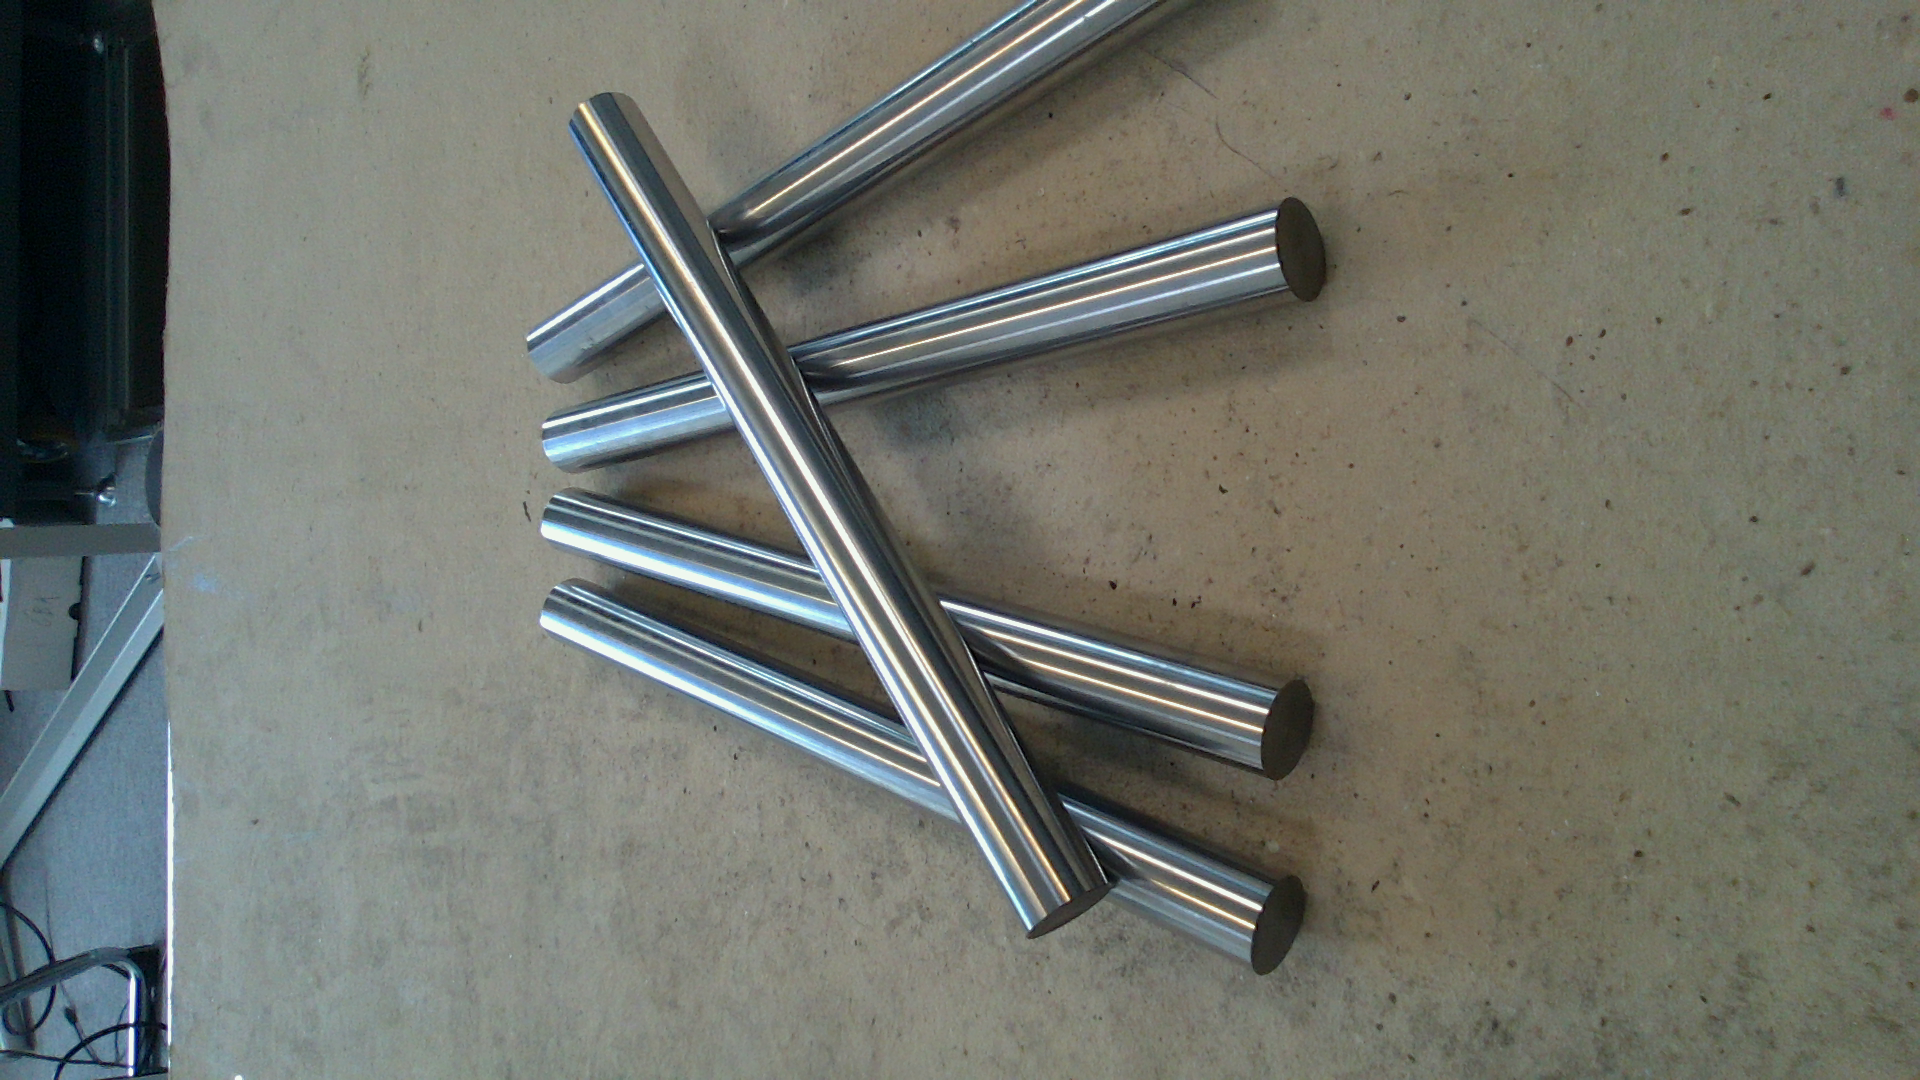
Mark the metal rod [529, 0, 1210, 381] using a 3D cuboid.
[{"bbox_3d":[-0.043,-0.111,0.432,0.299,0.025,0.025,-20,77,38],"label":"metal rod"}]

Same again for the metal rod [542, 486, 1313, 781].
[{"bbox_3d":[-0.034,0.019,0.424,0.299,0.025,0.025,13,99,39],"label":"metal rod"}]

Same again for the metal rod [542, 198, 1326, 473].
[{"bbox_3d":[-0.032,-0.053,0.423,0.299,0.025,0.025,-8,85,40],"label":"metal rod"}]

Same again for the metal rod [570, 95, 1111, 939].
[{"bbox_3d":[-0.046,-0.024,0.400,0.025,0.025,0.300,-47,62,30],"label":"metal rod"}]

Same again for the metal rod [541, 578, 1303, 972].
[{"bbox_3d":[-0.035,0.059,0.425,0.299,0.025,0.025,16,101,39],"label":"metal rod"}]
